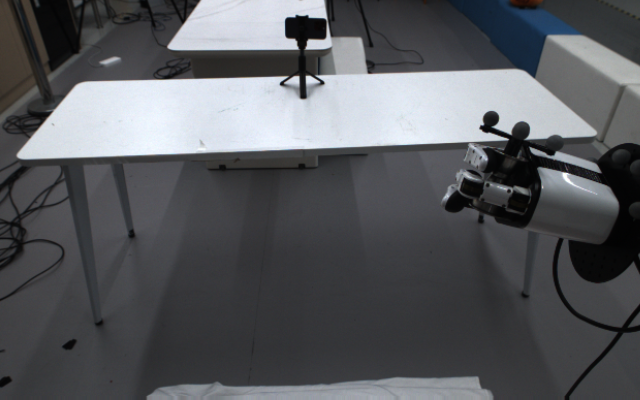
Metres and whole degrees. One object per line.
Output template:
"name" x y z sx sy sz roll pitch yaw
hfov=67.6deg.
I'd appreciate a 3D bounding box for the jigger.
"jigger" 0.199 -0.019 0.544 0.043 0.071 0.043 18 17 -6
